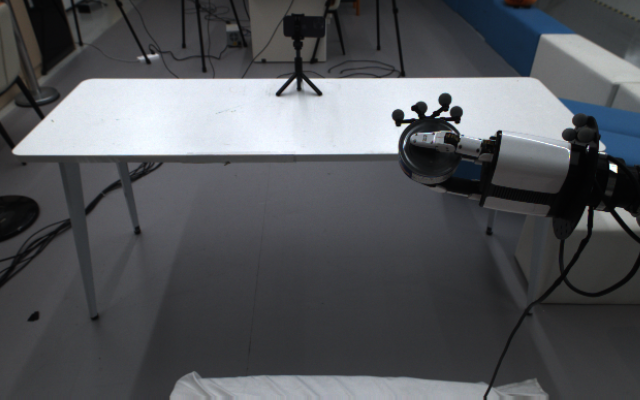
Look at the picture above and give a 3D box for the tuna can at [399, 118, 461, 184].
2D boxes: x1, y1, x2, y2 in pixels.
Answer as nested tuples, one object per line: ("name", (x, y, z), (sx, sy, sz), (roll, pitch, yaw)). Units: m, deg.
("tuna can", (0.149, -0.067, 0.657), (0.085, 0.034, 0.085), (-2, 69, 6))
